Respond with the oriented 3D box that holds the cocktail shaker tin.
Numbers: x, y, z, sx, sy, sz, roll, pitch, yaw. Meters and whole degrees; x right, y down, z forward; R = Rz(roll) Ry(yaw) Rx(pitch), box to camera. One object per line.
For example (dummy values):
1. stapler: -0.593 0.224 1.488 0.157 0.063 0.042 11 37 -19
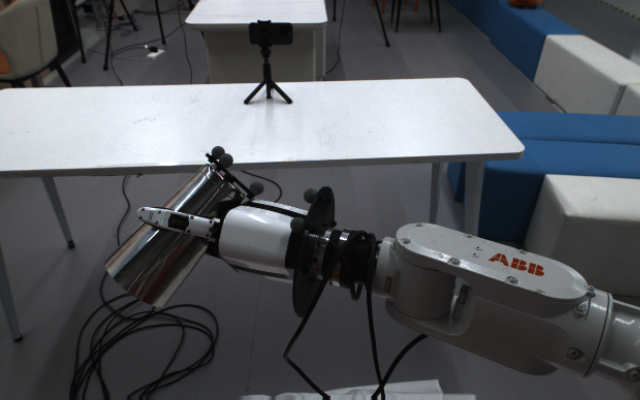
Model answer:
1. cocktail shaker tin: -0.173 0.037 0.610 0.170 0.093 0.093 -48 49 -3
